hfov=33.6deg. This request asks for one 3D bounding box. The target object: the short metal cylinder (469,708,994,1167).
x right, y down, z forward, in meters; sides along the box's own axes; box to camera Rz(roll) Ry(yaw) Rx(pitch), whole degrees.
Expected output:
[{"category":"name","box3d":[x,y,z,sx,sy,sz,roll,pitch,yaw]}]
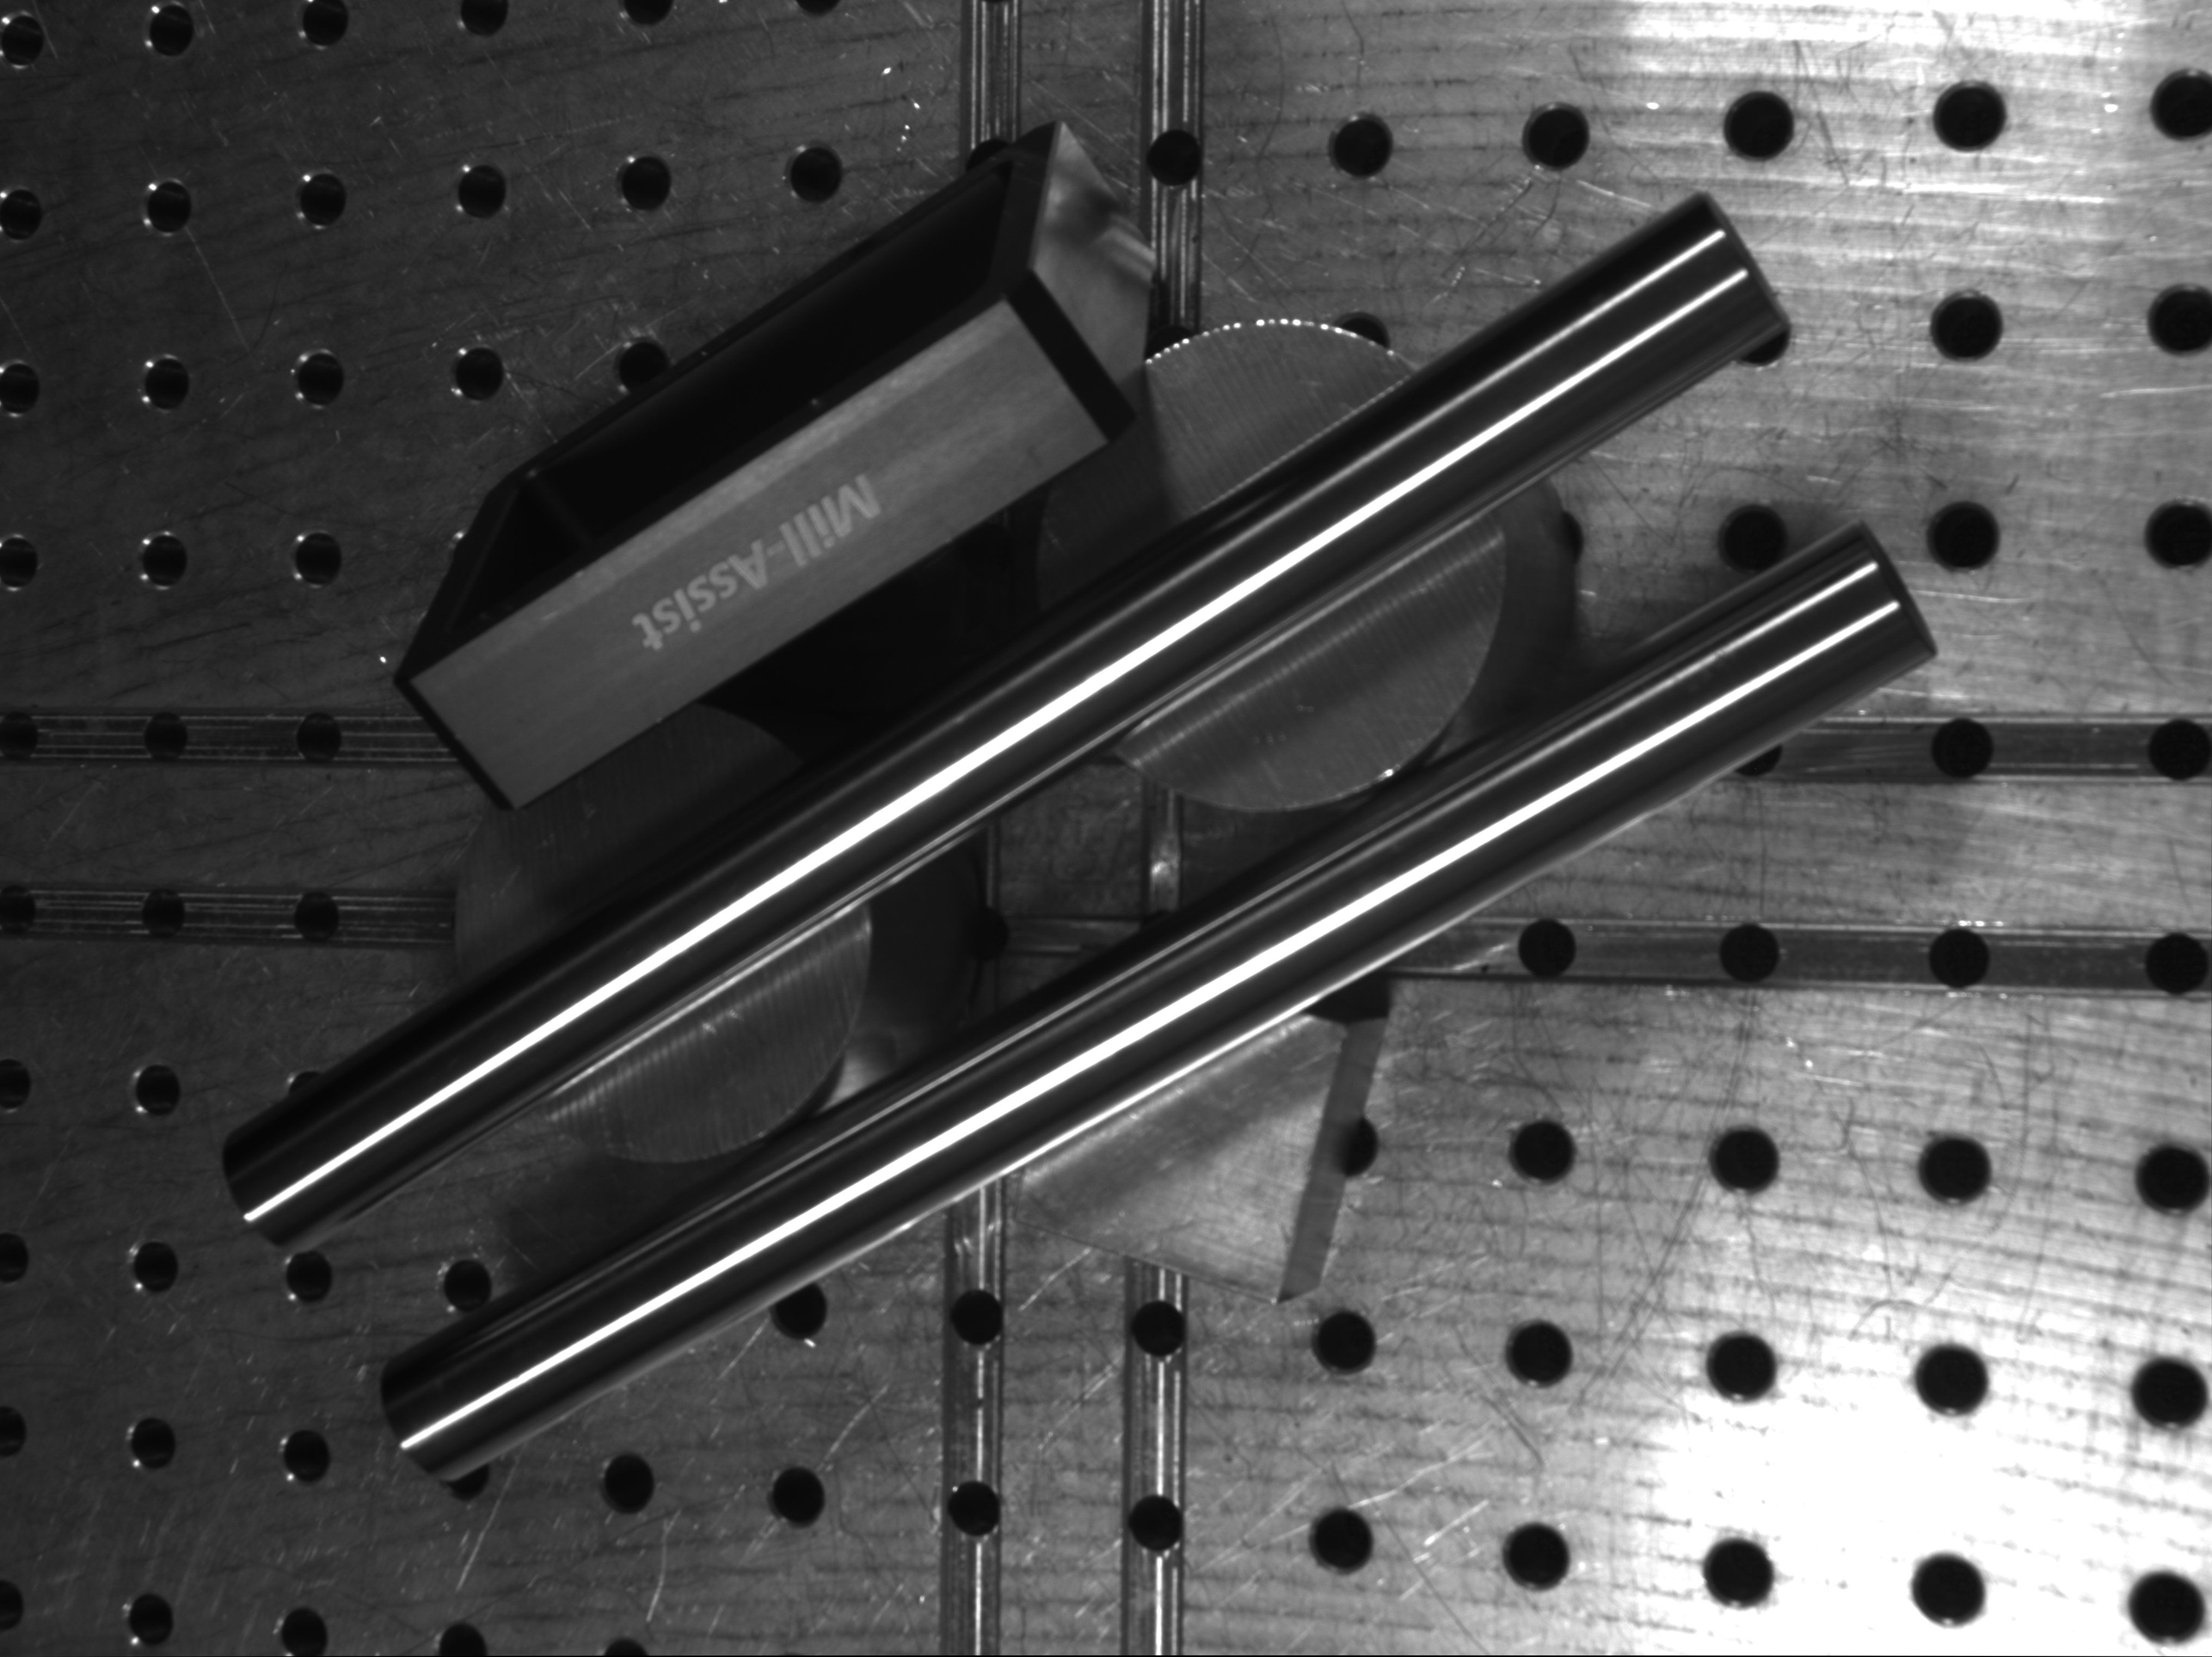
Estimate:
[{"category":"short metal cylinder","box3d":[-0.067,0.019,0.657,0.080,0.050,0.080,0,90,20]}]

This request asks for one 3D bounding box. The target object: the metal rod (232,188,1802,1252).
[{"category":"metal rod","box3d":[-0.023,-0.012,0.601,0.300,0.025,0.025,-32,80,17]}]

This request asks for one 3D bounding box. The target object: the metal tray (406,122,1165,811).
[{"category":"metal tray","box3d":[-0.053,-0.063,0.630,0.130,0.090,0.030,-30,112,17]}]

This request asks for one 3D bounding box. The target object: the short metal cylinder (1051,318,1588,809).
[{"category":"short metal cylinder","box3d":[0.037,-0.043,0.621,0.080,0.050,0.080,0,90,20]}]

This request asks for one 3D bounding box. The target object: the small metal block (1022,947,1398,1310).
[{"category":"small metal block","box3d":[0.018,0.051,0.639,0.050,0.025,0.050,16,95,19]}]

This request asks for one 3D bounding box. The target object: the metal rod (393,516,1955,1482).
[{"category":"metal rod","box3d":[0.003,0.034,0.618,0.300,0.025,0.025,-30,80,17]}]
